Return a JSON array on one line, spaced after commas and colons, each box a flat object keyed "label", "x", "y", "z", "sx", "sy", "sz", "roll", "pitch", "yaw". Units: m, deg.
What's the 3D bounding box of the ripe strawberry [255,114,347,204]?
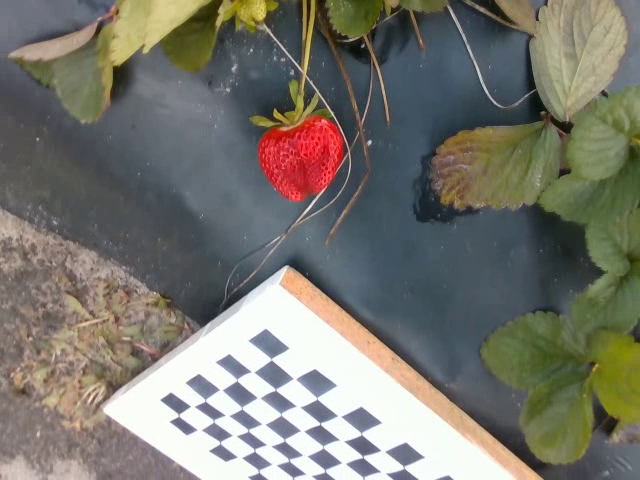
[{"label": "ripe strawberry", "x": -0.004, "y": -0.011, "z": 0.089, "sx": 0.017, "sy": 0.015, "sz": 0.013, "roll": -12, "pitch": -12, "yaw": 30}]
